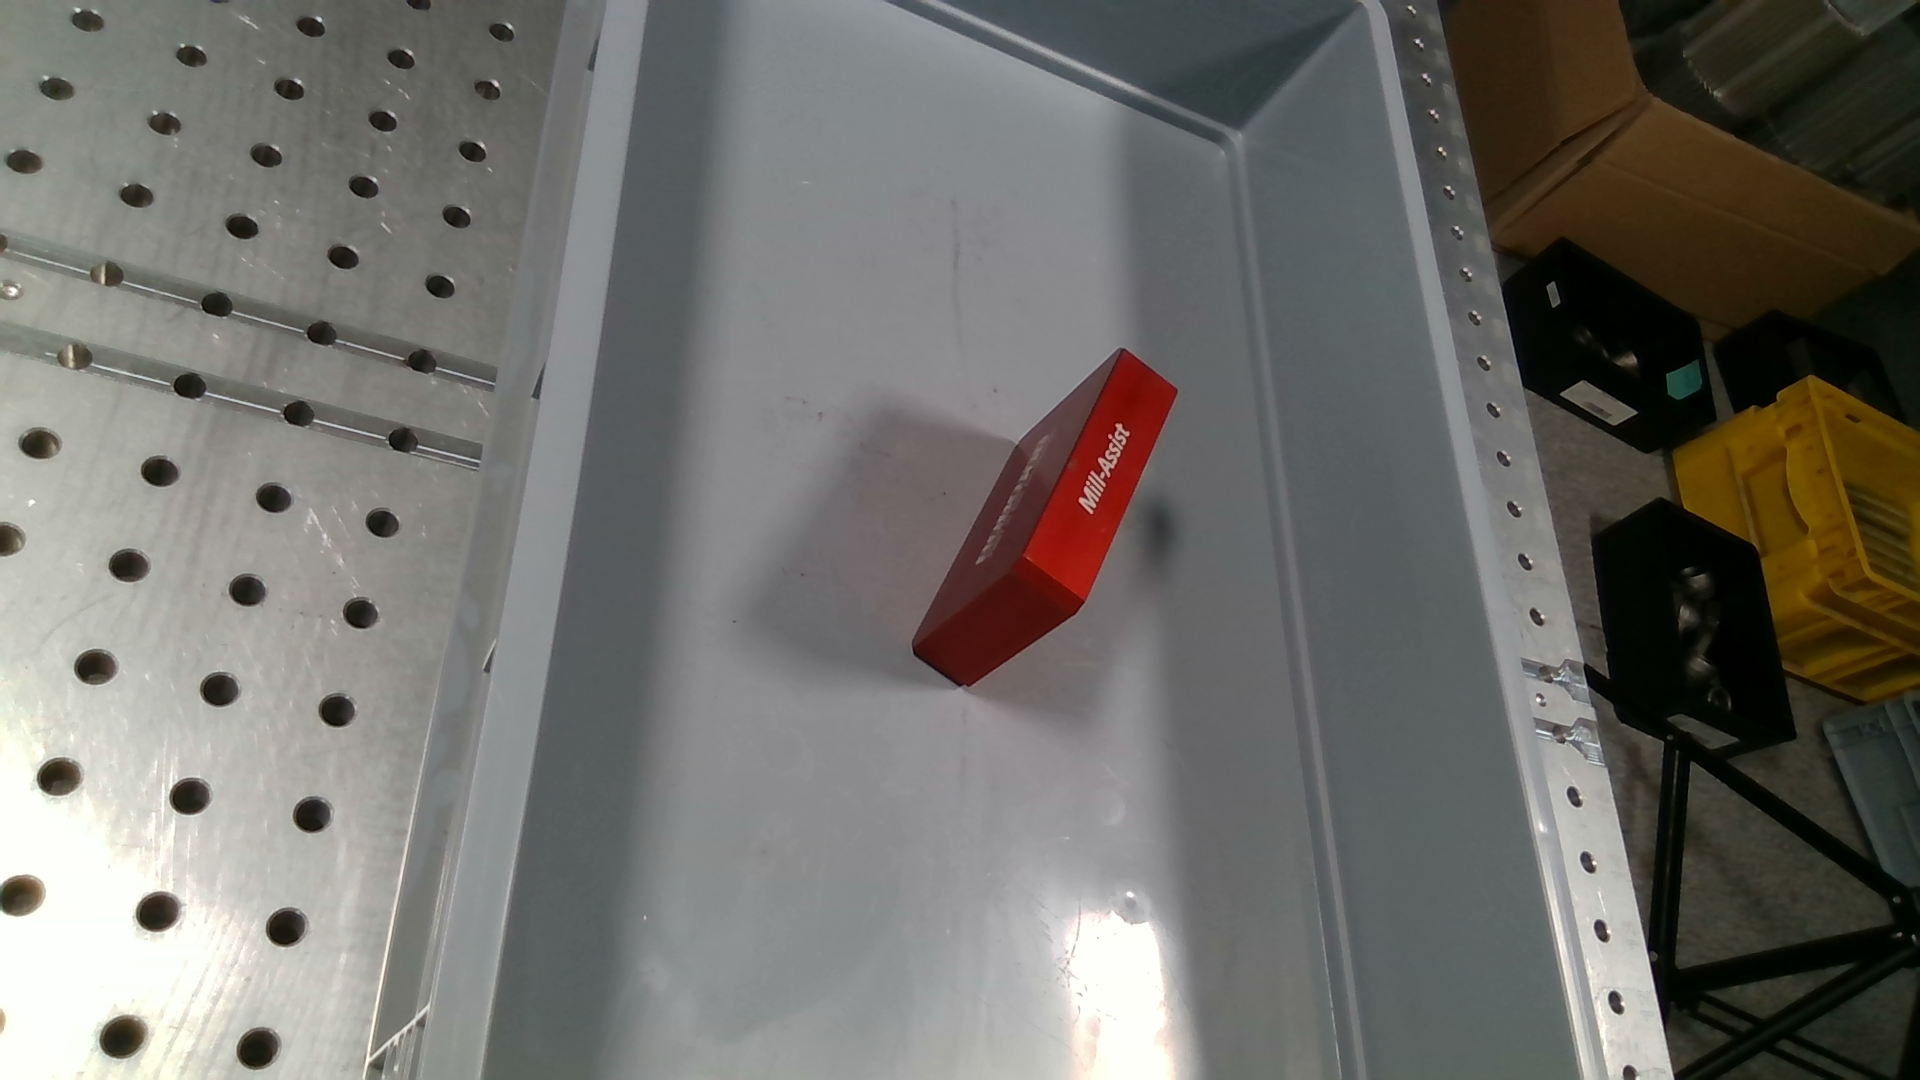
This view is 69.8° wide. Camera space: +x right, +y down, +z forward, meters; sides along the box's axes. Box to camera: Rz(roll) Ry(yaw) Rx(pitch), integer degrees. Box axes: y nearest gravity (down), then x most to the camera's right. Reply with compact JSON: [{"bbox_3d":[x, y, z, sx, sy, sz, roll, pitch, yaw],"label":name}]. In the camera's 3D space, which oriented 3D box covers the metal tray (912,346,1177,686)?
[{"bbox_3d":[0.035,-0.011,0.568,0.030,0.090,0.130,36,52,-10],"label":"metal tray"}]
